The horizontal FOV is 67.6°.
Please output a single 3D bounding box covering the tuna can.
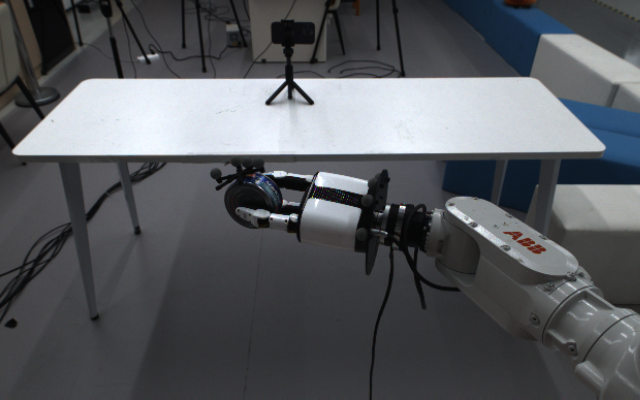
[{"bbox_3d":[-0.100,0.008,0.745,0.085,0.085,0.034,11,34,13],"label":"tuna can"}]
